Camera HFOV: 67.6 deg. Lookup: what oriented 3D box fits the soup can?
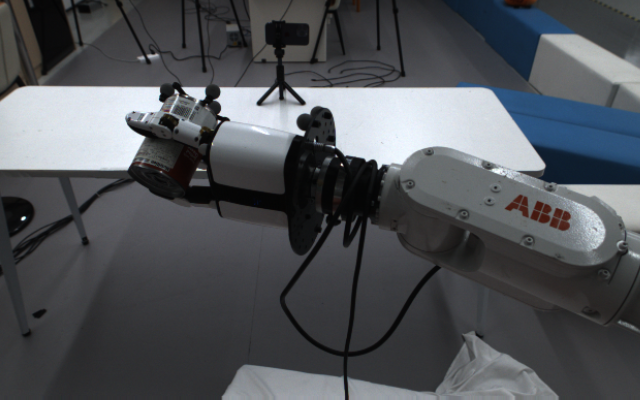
[{"bbox_3d":[-0.168,-0.062,0.563,0.067,0.067,0.101,12,66,14],"label":"soup can"}]
